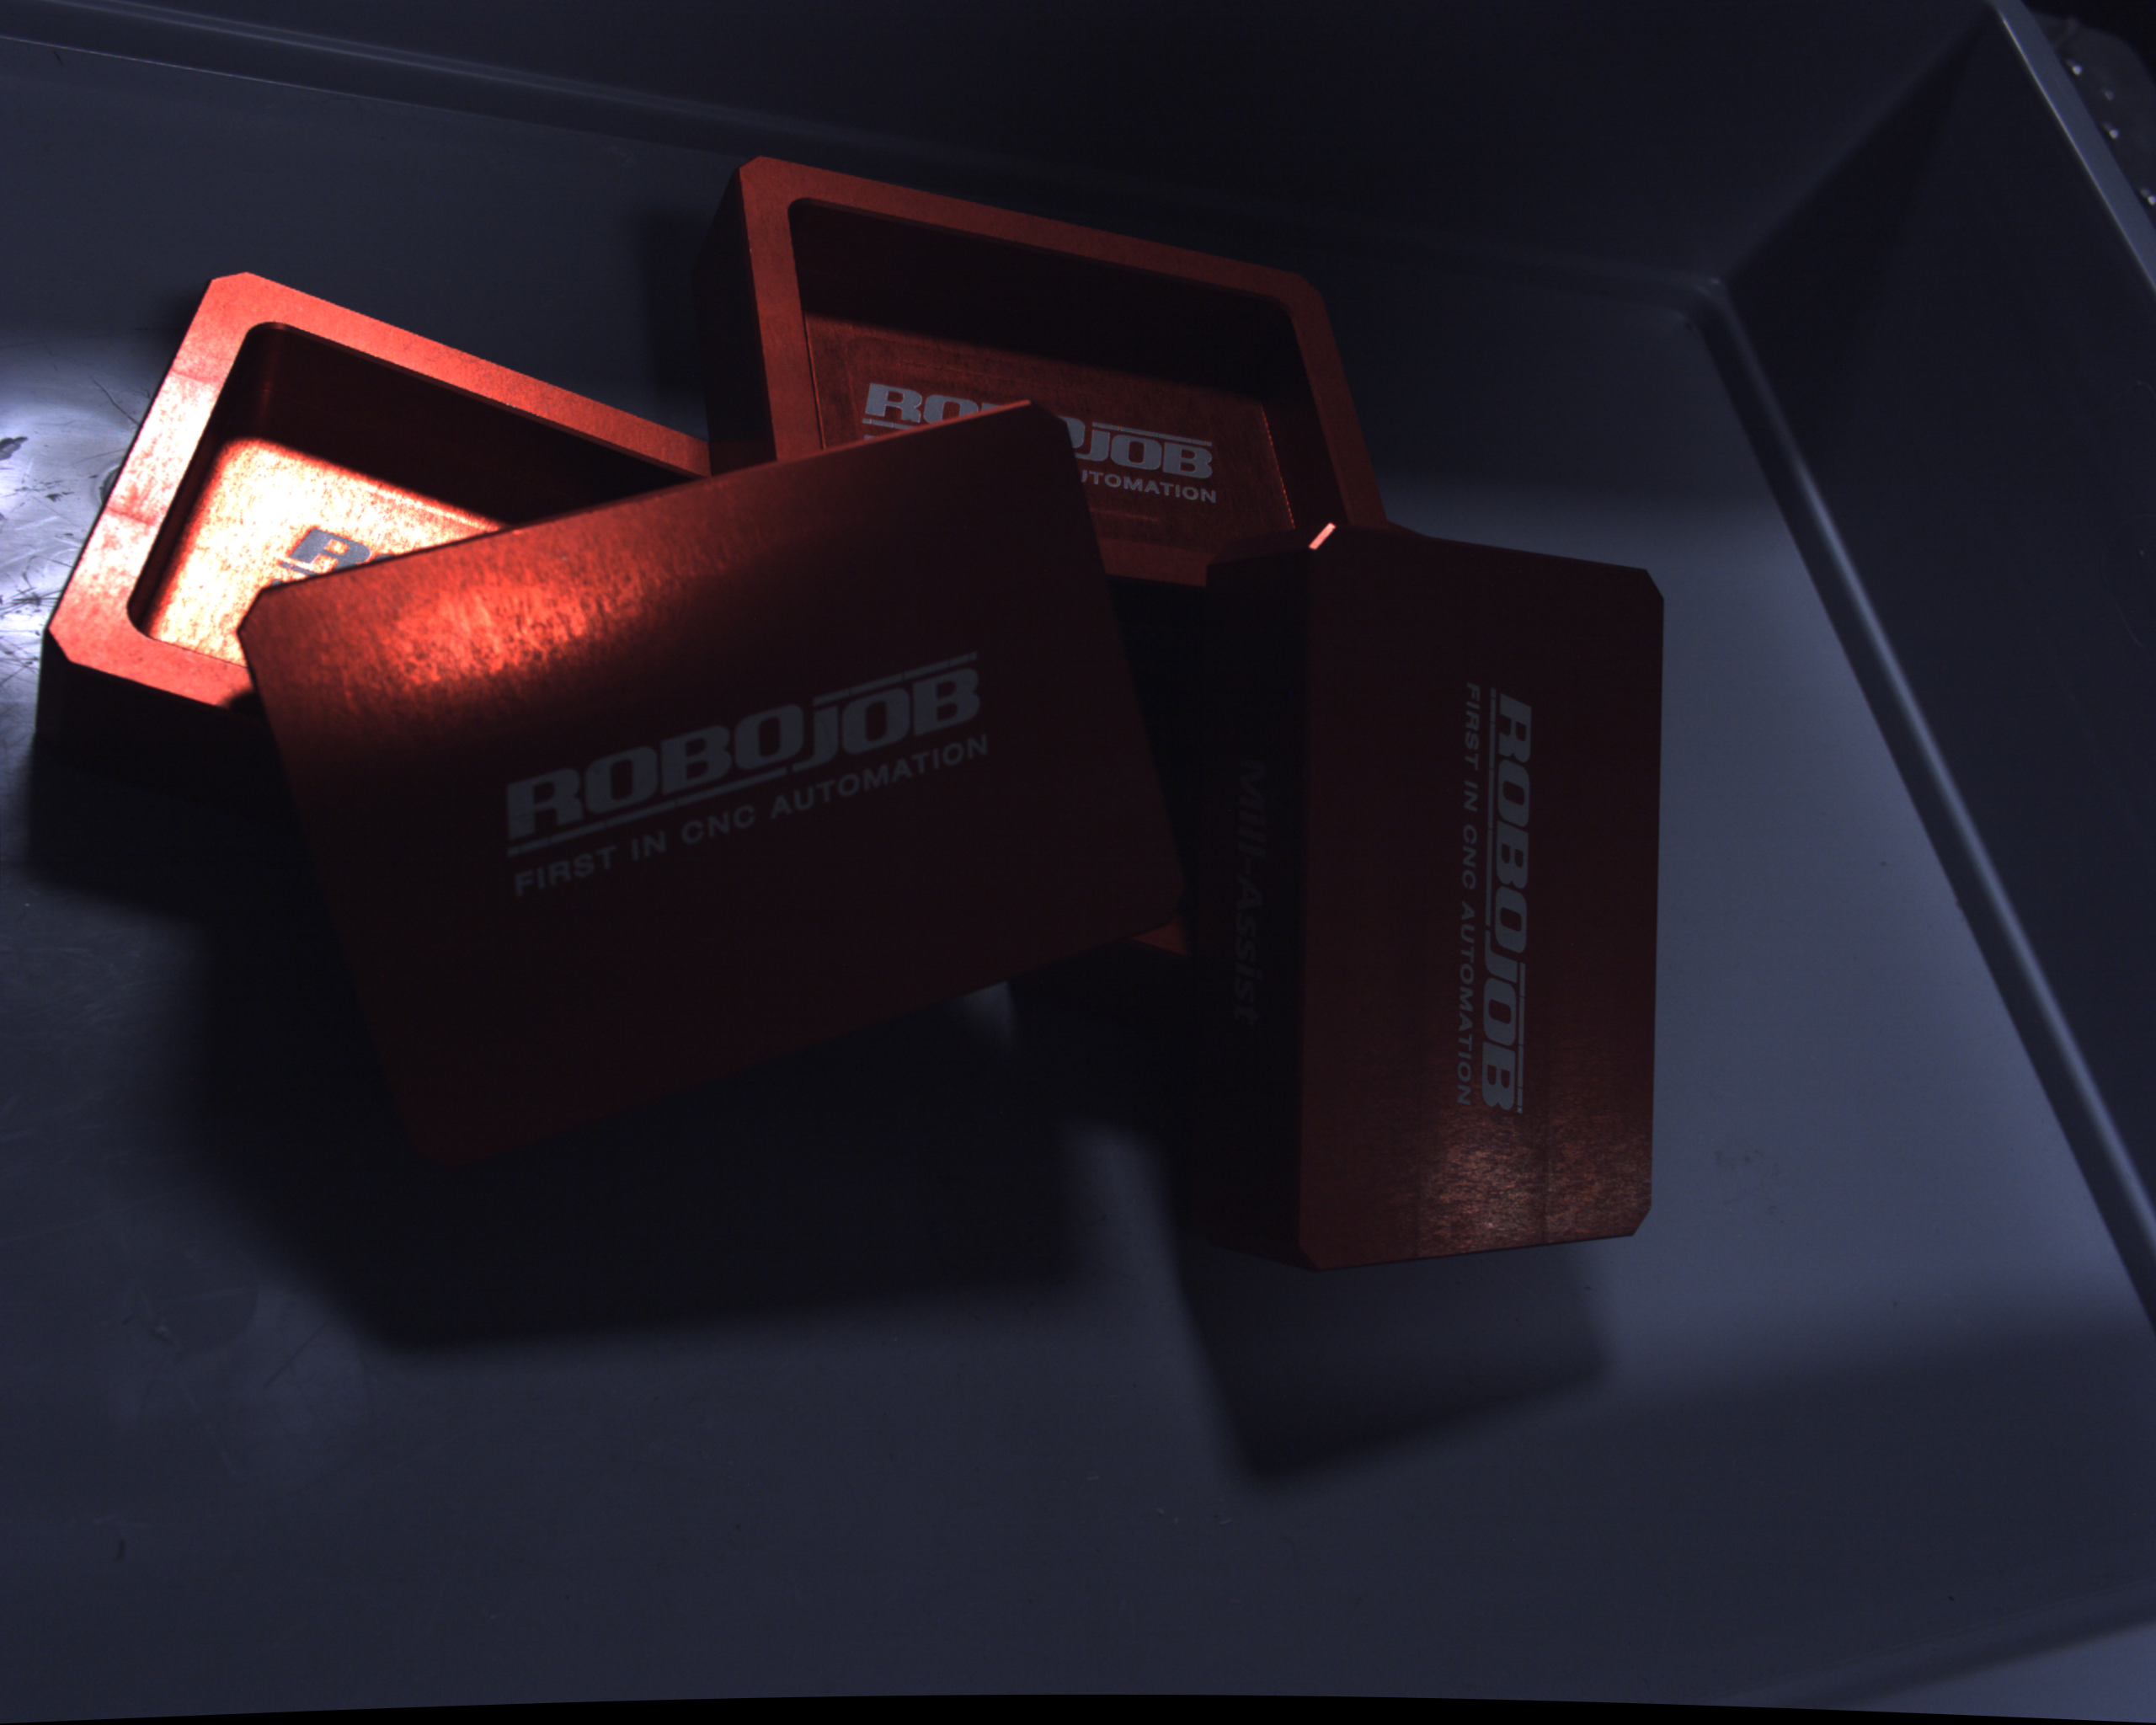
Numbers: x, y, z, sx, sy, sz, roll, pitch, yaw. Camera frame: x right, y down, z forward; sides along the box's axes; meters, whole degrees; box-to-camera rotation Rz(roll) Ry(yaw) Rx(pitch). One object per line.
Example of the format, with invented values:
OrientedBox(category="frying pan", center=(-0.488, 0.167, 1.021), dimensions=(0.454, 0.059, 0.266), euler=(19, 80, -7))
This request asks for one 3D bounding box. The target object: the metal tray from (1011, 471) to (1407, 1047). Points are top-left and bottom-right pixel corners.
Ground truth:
OrientedBox(category="metal tray", center=(0.038, -0.023, 0.436), dimensions=(0.091, 0.030, 0.130), euler=(18, 55, -18))

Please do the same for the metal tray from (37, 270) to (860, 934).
OrientedBox(category="metal tray", center=(-0.101, -0.043, 0.371), dimensions=(0.131, 0.030, 0.090), euler=(18, 55, -18))

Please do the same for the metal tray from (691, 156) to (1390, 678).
OrientedBox(category="metal tray", center=(-0.005, -0.084, 0.412), dimensions=(0.131, 0.030, 0.090), euler=(3, 60, -27))

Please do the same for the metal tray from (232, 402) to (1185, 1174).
OrientedBox(category="metal tray", center=(-0.056, -0.015, 0.337), dimensions=(0.131, 0.030, 0.089), euler=(-18, 101, -19))

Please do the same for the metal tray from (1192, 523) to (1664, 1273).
OrientedBox(category="metal tray", center=(0.068, 0.007, 0.393), dimensions=(0.091, 0.030, 0.129), euler=(2, 89, -34))
